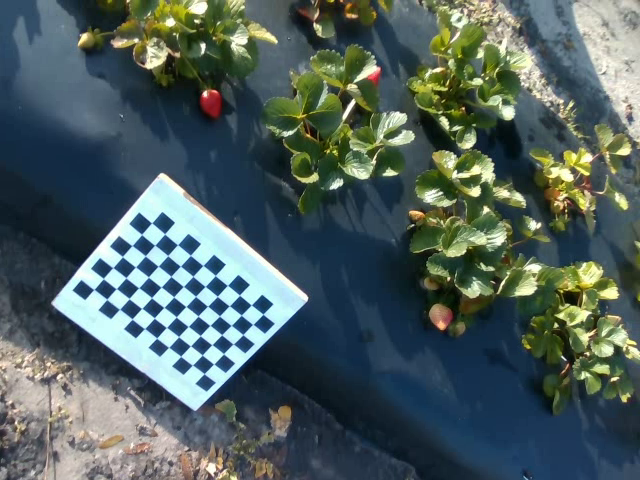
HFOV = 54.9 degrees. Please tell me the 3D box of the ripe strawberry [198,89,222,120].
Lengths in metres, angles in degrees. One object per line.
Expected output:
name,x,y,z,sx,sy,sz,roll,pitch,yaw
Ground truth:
ripe strawberry,-0.144,-0.178,0.822,0.030,0.045,0.033,-16,-12,9
